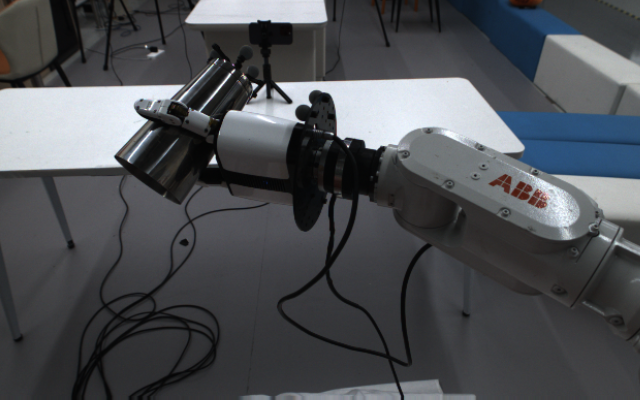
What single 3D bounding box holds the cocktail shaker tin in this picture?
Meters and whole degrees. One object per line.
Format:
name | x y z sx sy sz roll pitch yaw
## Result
cocktail shaker tin | -0.157 -0.094 0.591 0.093 0.093 0.170 24 69 28
